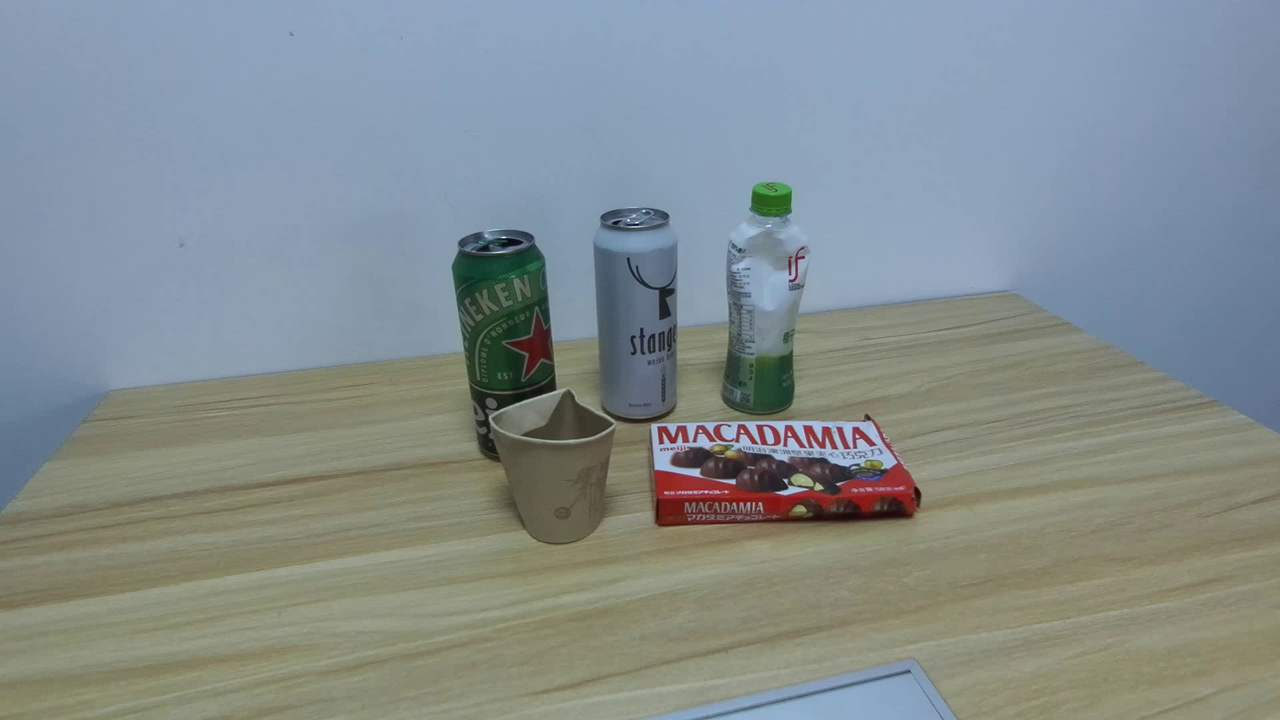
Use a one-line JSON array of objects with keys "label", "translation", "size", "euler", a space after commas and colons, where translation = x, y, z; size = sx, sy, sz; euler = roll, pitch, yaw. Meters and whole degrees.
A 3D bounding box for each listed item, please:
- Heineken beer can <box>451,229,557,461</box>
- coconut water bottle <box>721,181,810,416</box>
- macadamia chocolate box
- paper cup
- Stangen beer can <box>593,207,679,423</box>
[{"label": "Heineken beer can", "translation": [-0.099, -0.008, 0.538], "size": [0.067, 0.169, 0.067], "euler": [-2, 25, 1]}, {"label": "coconut water bottle", "translation": [0.103, -0.050, 0.580], "size": [0.069, 0.187, 0.069], "euler": [0, 27, 0]}, {"label": "macadamia chocolate box", "translation": [0.099, 0.079, 0.514], "size": [0.183, 0.028, 0.105], "euler": [-2, 27, -3]}, {"label": "paper cup", "translation": [-0.055, 0.073, 0.467], "size": [0.066, 0.084, 0.071], "euler": [-19, 31, -31]}, {"label": "Stangen beer can", "translation": [-0.002, -0.035, 0.581], "size": [0.067, 0.171, 0.067], "euler": [-1, 26, 1]}]
